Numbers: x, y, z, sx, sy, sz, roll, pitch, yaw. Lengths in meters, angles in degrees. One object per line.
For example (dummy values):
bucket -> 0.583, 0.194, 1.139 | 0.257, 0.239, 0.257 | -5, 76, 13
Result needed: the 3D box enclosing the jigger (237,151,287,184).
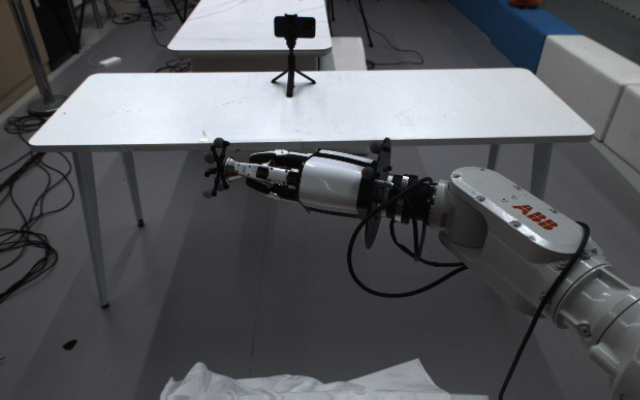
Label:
jigger -> -0.099, -0.045, 0.730 | 0.071, 0.043, 0.043 | 7, 35, 14
